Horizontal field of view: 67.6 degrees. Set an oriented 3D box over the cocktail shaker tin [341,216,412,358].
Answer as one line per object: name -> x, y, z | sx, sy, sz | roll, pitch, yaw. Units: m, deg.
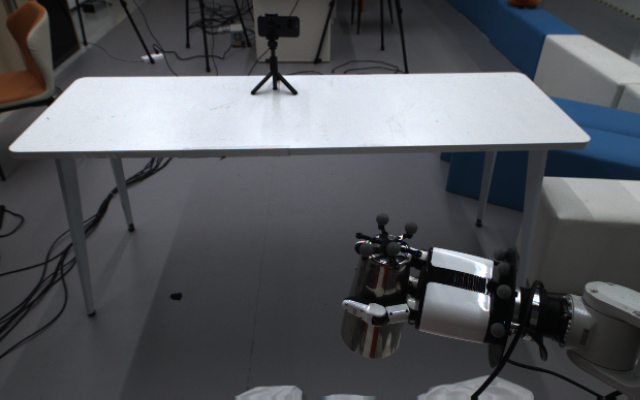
cocktail shaker tin -> 0.084, 0.132, 0.685 | 0.093, 0.170, 0.093 | 3, 36, -2
